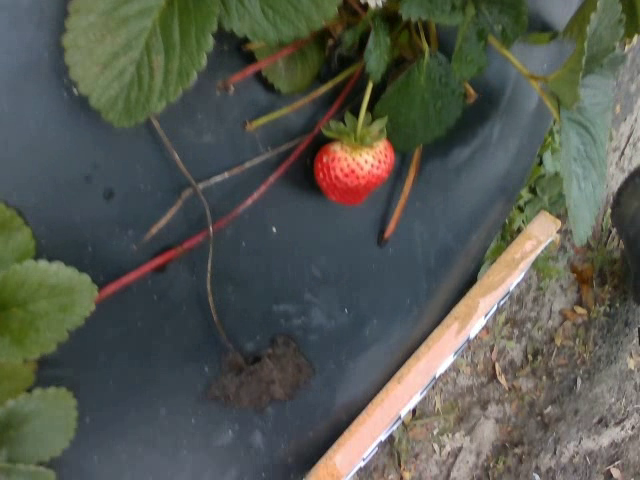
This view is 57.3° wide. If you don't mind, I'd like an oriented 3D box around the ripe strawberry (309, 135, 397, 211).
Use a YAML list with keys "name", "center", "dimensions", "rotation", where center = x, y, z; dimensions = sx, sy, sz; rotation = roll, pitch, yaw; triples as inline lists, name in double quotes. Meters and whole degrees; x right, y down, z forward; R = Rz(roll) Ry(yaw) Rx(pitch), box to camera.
- name: "ripe strawberry"
  center: [0.024, -0.042, 0.385]
  dimensions: [0.049, 0.061, 0.065]
  rotation: [35, -28, 22]
